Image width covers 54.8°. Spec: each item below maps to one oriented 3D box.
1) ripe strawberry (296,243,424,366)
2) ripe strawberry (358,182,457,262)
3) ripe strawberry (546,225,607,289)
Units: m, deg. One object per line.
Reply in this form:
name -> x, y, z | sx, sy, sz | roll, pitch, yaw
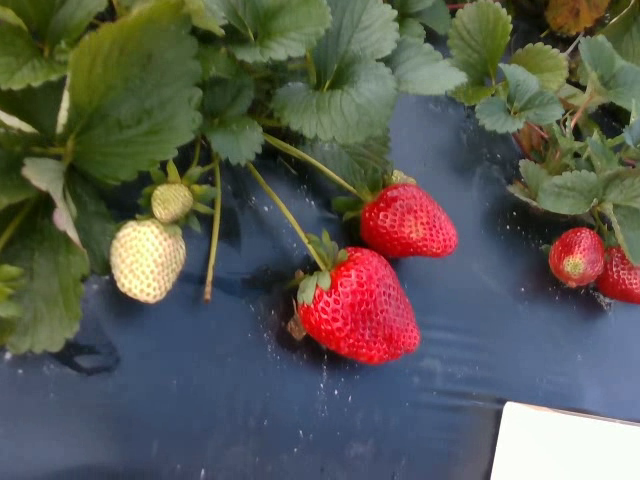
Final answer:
ripe strawberry -> 0.024, 0.037, 0.297 | 0.065, 0.058, 0.044 | 43, -10, -2
ripe strawberry -> 0.053, -0.007, 0.337 | 0.060, 0.050, 0.051 | 34, -9, 28
ripe strawberry -> 0.164, 0.015, 0.388 | 0.039, 0.047, 0.053 | 3, 12, 33
